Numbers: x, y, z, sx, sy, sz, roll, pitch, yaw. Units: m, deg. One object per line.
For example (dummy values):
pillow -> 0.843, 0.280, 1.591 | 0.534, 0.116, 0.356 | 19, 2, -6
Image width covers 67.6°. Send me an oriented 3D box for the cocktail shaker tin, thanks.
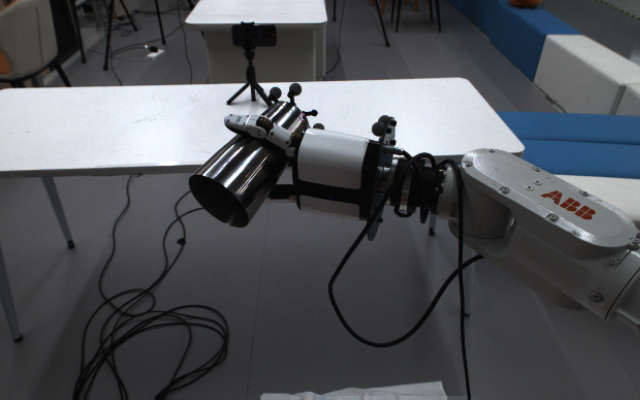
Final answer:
cocktail shaker tin -> -0.083, -0.060, 0.642 | 0.093, 0.093, 0.170 | 19, 55, 23
